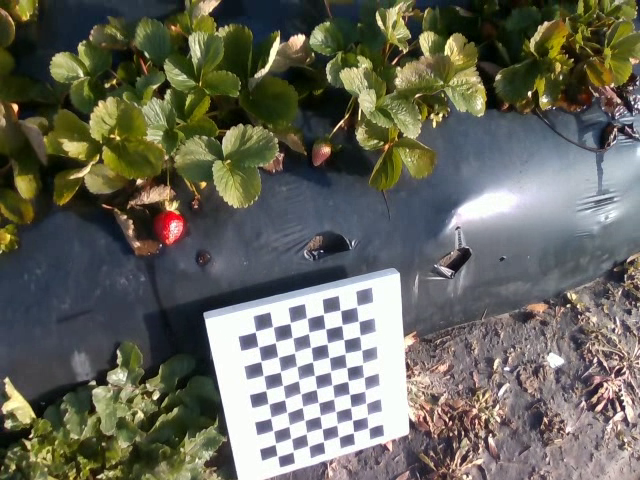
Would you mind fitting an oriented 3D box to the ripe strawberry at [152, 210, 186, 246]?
[{"bbox_3d":[-0.170,-0.006,0.739,0.046,0.054,0.038,8,-28,-21],"label":"ripe strawberry"}]
